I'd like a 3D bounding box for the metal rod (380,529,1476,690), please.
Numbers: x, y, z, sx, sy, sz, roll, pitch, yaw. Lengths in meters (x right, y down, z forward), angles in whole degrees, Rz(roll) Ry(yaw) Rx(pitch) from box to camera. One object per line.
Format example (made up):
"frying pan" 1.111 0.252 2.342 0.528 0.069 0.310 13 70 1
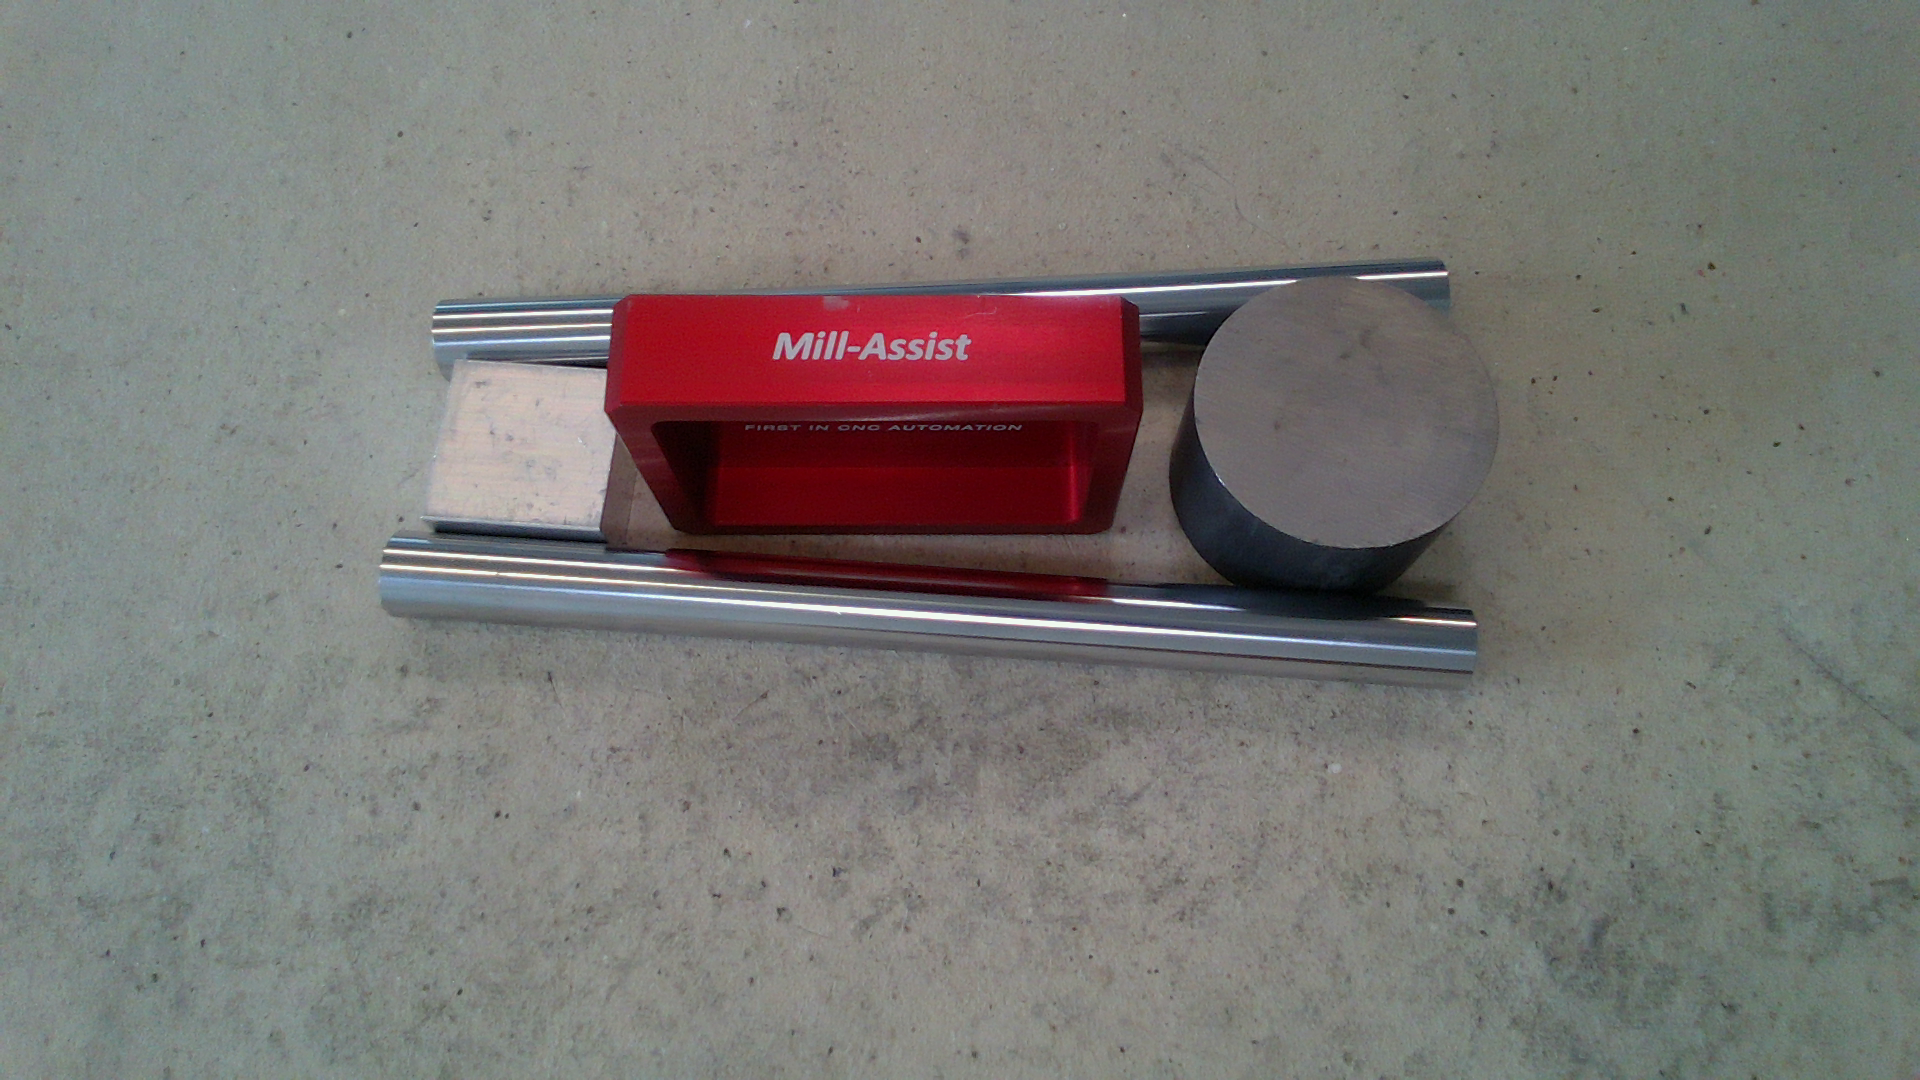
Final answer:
"metal rod" -0.010 0.019 0.388 0.300 0.025 0.025 4 70 1

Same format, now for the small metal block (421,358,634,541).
"small metal block" -0.123 -0.024 0.404 0.050 0.025 0.050 4 70 1

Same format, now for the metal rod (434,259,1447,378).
"metal rod" -0.005 -0.067 0.419 0.300 0.025 0.025 -3 70 -1

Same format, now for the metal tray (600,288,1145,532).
"metal tray" -0.020 -0.032 0.370 0.130 0.090 0.030 0 70 0

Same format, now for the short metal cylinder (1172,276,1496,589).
"short metal cylinder" 0.103 -0.027 0.391 0.080 0.050 0.080 0 70 0
